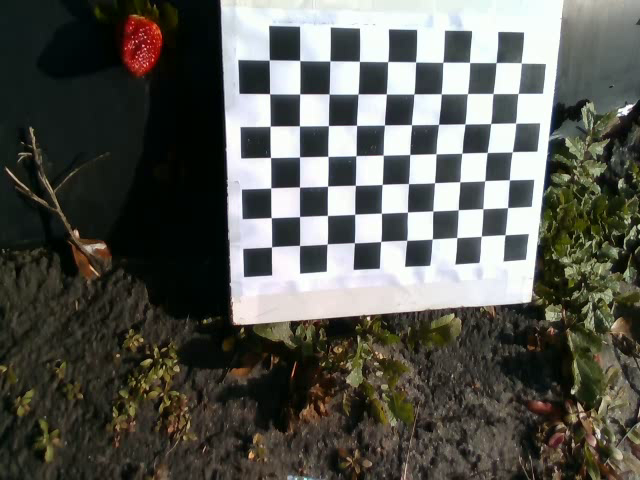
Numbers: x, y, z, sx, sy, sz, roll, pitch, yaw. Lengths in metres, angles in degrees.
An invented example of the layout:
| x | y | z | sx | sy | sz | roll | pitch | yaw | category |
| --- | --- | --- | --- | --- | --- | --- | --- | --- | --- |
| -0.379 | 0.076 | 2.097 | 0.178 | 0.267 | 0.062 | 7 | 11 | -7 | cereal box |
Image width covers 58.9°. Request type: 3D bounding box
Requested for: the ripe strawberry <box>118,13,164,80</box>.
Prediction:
| x | y | z | sx | sy | sz | roll | pitch | yaw | category |
| --- | --- | --- | --- | --- | --- | --- | --- | --- | --- |
| -0.048 | -0.048 | 0.146 | 0.015 | 0.023 | 0.015 | 5 | -39 | -15 | ripe strawberry |
